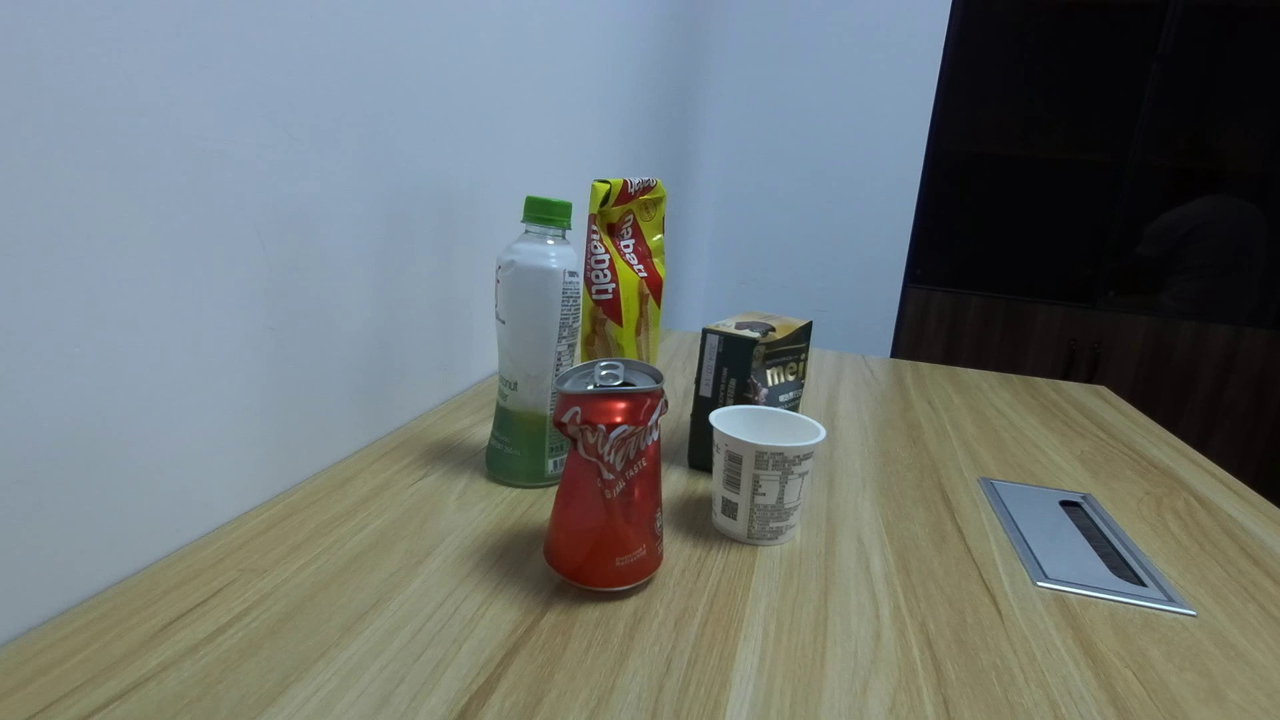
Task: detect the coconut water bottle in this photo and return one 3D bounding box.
[{"bbox_3d":[-0.069,-0.013,0.476,0.069,0.187,0.069,4,13,-1],"label":"coconut water bottle"}]

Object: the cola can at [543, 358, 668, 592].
[{"bbox_3d":[-0.016,0.059,0.372,0.065,0.112,0.069,15,18,34],"label":"cola can"}]

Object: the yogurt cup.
[{"bbox_3d":[0.074,0.071,0.434,0.072,0.068,0.072,4,16,-1],"label":"yogurt cup"}]

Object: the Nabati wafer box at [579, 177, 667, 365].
[{"bbox_3d":[-0.012,-0.048,0.600,0.042,0.205,0.113,8,15,17],"label":"Nabati wafer box"}]
